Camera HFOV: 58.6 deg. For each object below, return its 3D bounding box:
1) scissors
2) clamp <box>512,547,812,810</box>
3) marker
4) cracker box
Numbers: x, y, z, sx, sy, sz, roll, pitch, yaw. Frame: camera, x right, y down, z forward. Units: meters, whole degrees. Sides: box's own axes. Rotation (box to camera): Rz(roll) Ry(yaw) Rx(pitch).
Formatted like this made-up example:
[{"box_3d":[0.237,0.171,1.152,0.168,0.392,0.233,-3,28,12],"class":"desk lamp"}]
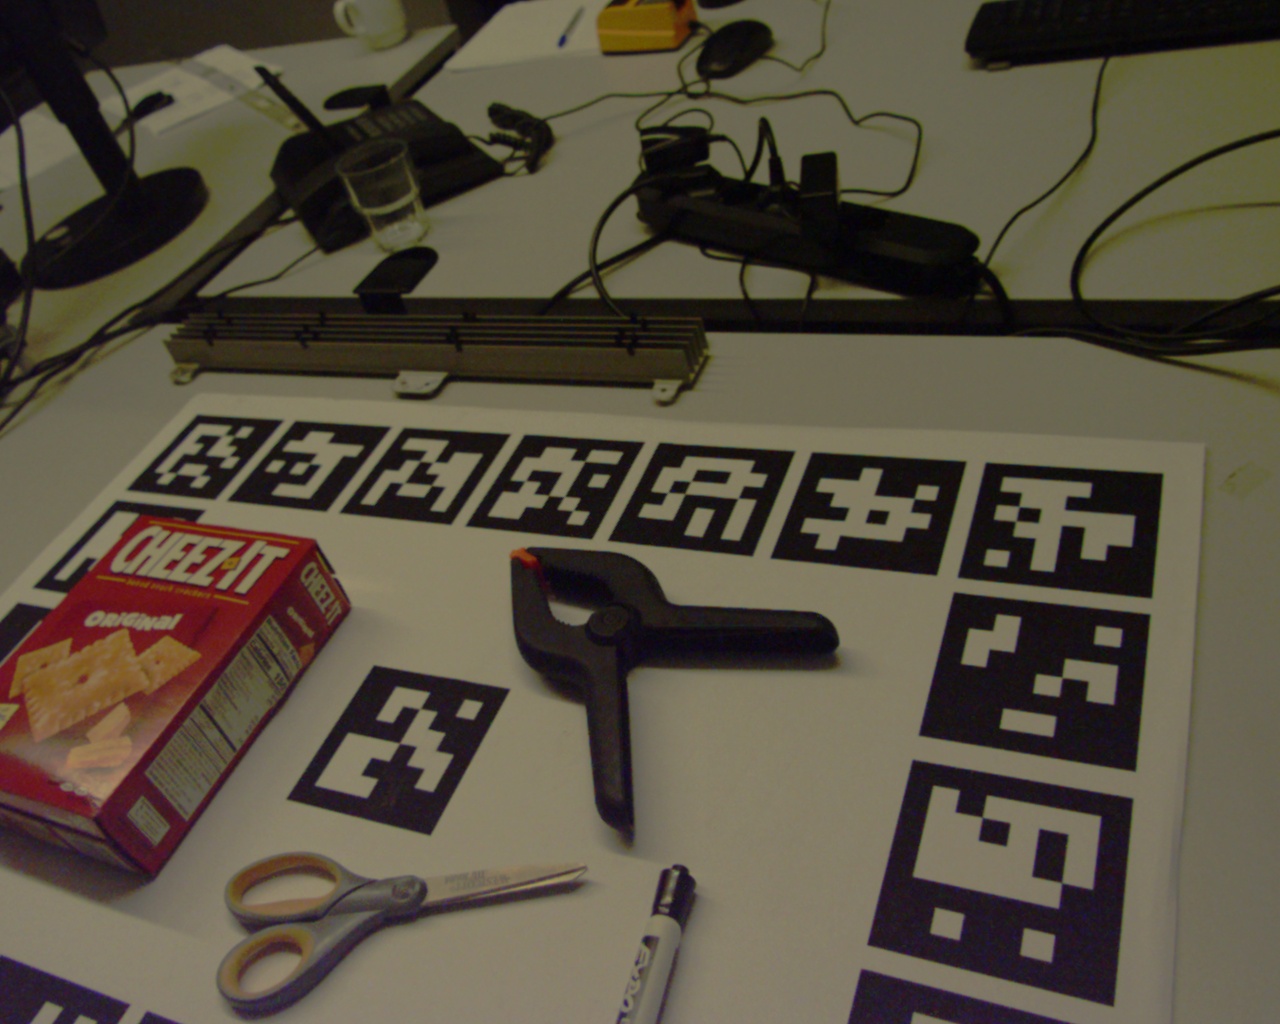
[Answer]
[{"box_3d":[-0.131,0.197,0.614,0.203,0.016,0.088,-14,39,2],"class":"scissors"},{"box_3d":[-0.019,0.077,0.716,0.164,0.036,0.205,-35,43,-21],"class":"clamp"},{"box_3d":[-0.004,0.211,0.548,0.020,0.019,0.121,1,43,22],"class":"marker"},{"box_3d":[-0.320,0.107,0.752,0.166,0.071,0.213,5,45,26],"class":"cracker box"}]
